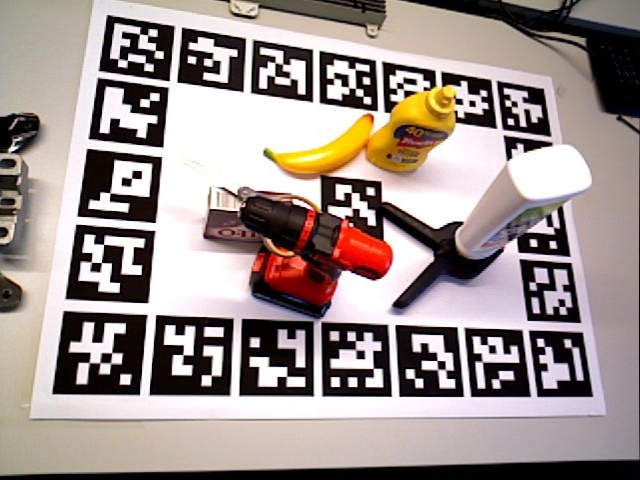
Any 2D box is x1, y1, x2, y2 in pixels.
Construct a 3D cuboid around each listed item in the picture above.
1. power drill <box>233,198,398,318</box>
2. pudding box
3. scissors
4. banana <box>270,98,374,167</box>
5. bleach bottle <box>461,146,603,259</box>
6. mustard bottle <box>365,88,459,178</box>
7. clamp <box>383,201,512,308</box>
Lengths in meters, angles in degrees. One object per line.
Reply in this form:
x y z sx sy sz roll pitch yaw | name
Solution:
-0.022 0.024 0.643 0.183 0.191 0.056 17 60 -7 | power drill
-0.100 -0.035 0.725 0.113 0.092 0.038 9 62 -13 | pudding box
-0.091 -0.064 0.666 0.202 0.016 0.086 30 71 -9 | scissors
0.021 -0.159 0.823 0.194 0.039 0.074 -36 67 -23 | banana
0.260 -0.033 0.723 0.101 0.255 0.067 -15 72 -14 | bleach bottle
0.143 -0.158 0.784 0.095 0.195 0.057 19 66 -10 | mustard bottle
0.198 0.014 0.806 0.200 0.037 0.164 -1 75 -18 | clamp
